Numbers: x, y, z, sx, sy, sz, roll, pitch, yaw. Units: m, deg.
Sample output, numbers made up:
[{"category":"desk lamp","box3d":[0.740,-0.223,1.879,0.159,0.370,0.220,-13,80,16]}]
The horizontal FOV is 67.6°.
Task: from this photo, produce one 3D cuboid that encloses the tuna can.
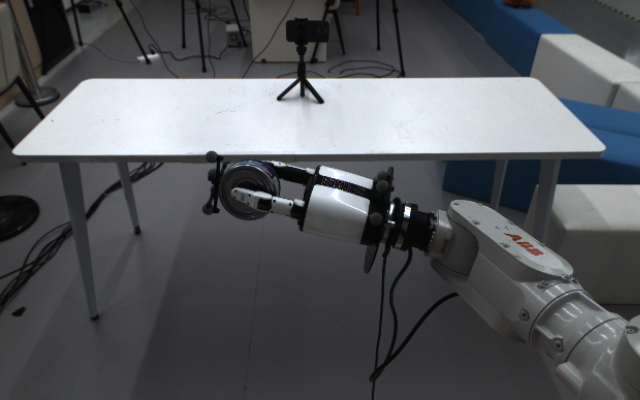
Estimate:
[{"category":"tuna can","box3d":[-0.101,-0.015,0.699,0.085,0.085,0.034,4,19,3]}]
